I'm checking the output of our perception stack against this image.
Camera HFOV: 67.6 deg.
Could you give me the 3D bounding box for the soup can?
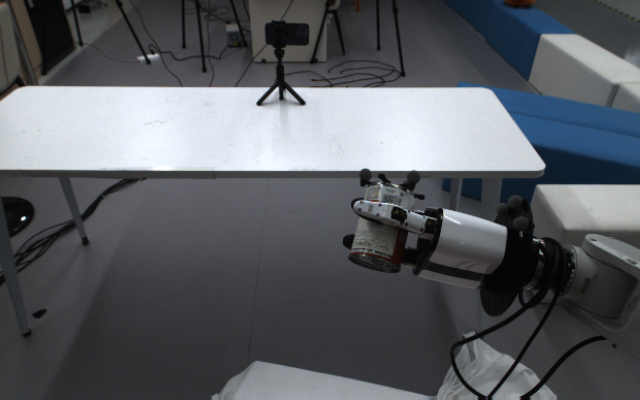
[{"bbox_3d":[0.083,0.037,0.631,0.067,0.067,0.101,11,72,13],"label":"soup can"}]
